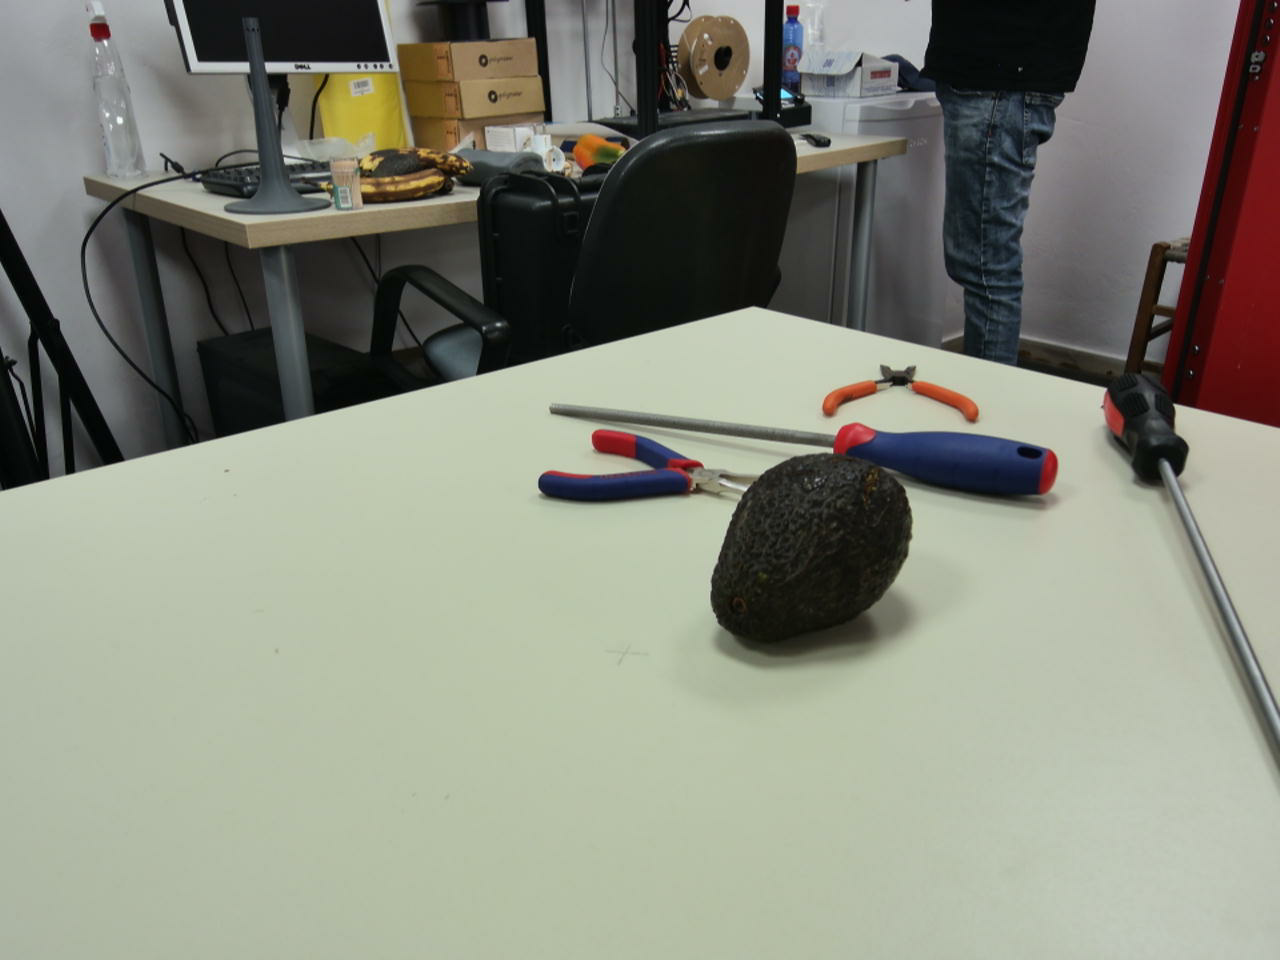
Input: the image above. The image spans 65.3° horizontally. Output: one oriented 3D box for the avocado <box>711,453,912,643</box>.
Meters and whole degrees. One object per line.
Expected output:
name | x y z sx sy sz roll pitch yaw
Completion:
avocado | 0.069 0.024 0.415 0.090 0.069 0.070 -6 22 -13
